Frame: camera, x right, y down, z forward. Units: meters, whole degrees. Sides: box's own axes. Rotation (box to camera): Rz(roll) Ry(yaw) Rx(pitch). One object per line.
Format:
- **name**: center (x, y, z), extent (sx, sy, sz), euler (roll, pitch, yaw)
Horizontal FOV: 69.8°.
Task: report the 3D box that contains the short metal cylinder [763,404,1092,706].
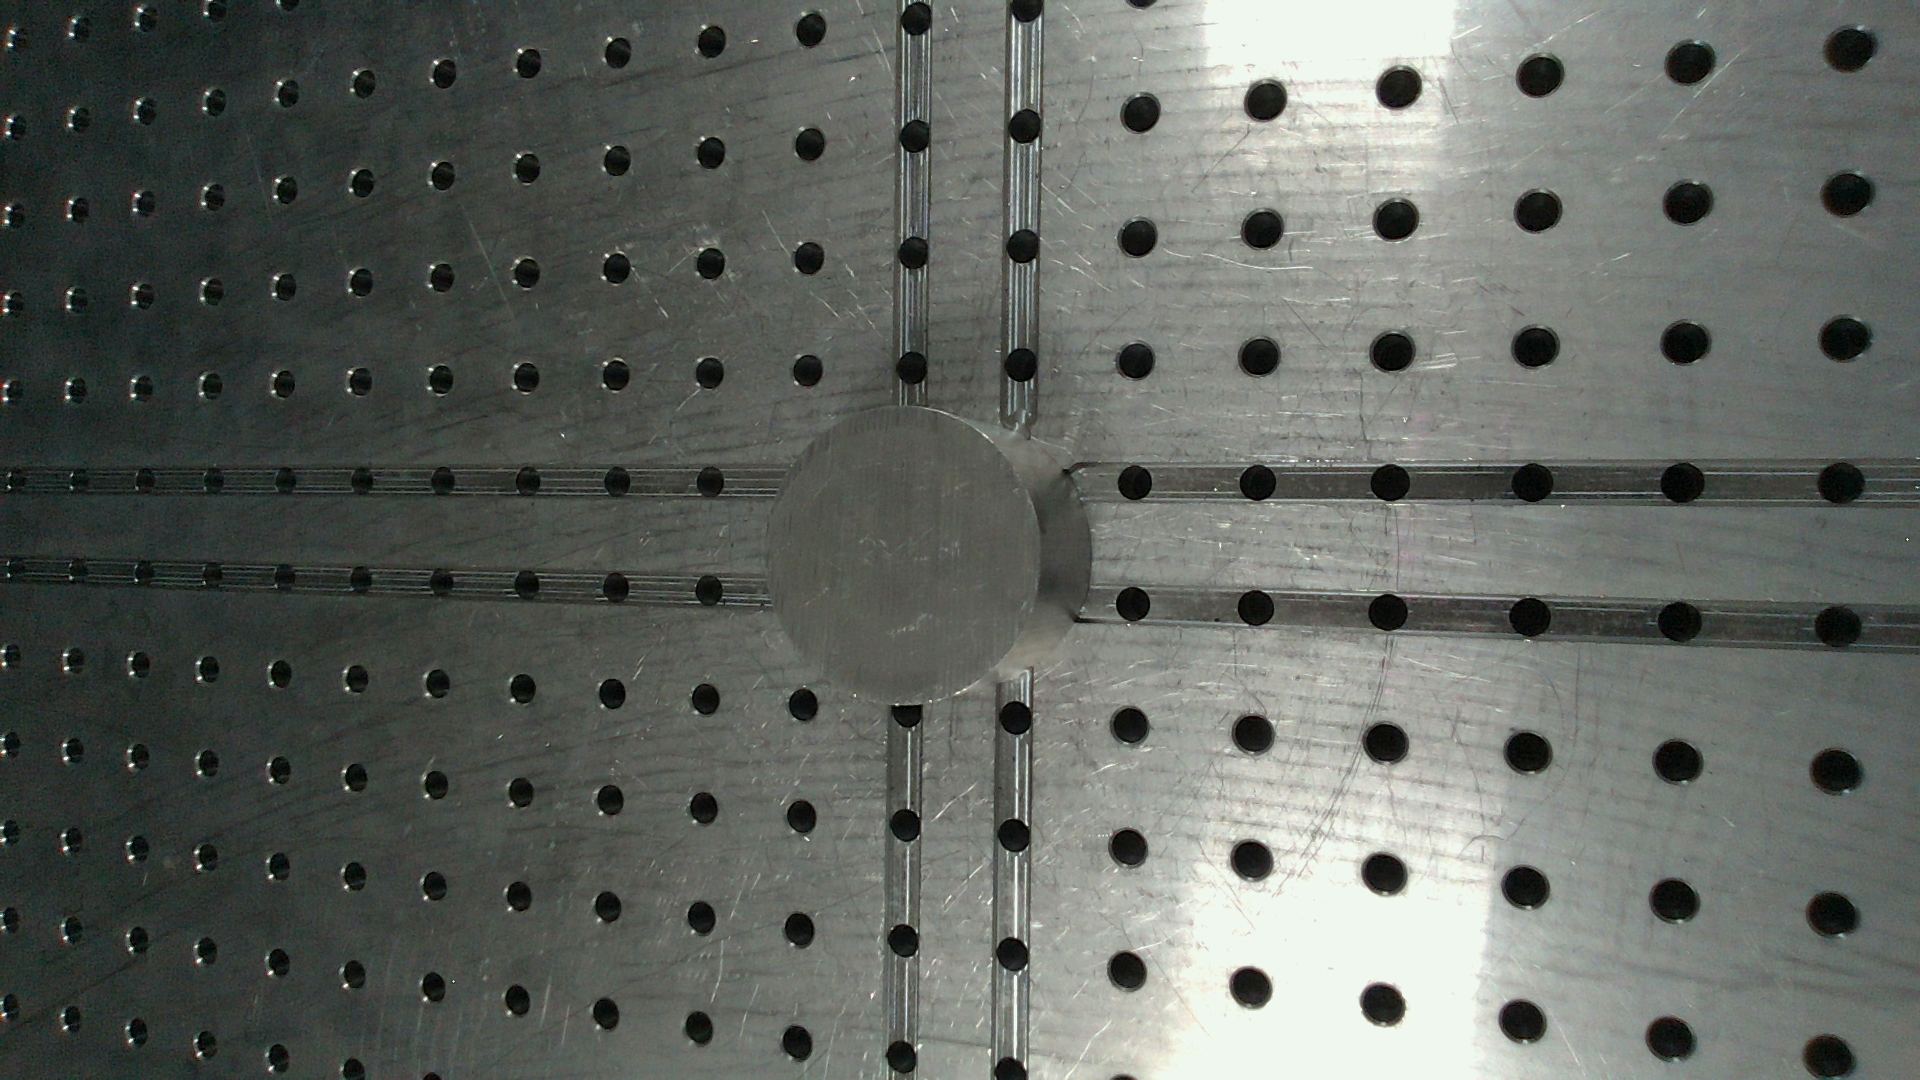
- **short metal cylinder**: center (-0.008, 0.004, 0.387), extent (0.080, 0.050, 0.080), euler (0, 90, 20)
